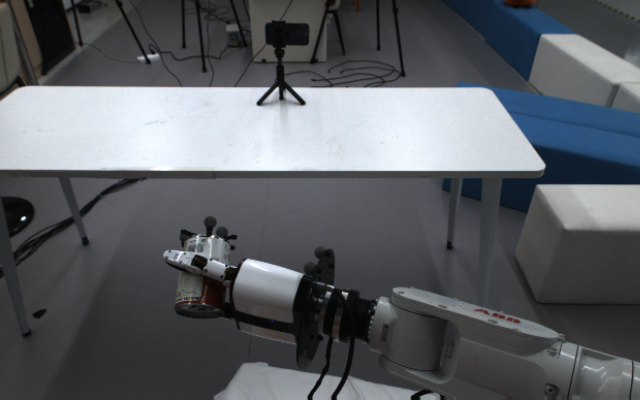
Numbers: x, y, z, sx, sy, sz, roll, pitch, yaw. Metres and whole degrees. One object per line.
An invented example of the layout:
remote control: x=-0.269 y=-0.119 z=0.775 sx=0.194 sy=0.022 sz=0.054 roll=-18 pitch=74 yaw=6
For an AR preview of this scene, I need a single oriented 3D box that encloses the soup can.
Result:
soup can: x=-0.159 y=0.107 z=0.672 sx=0.067 sy=0.067 sz=0.101 roll=0 pitch=60 yaw=-2
